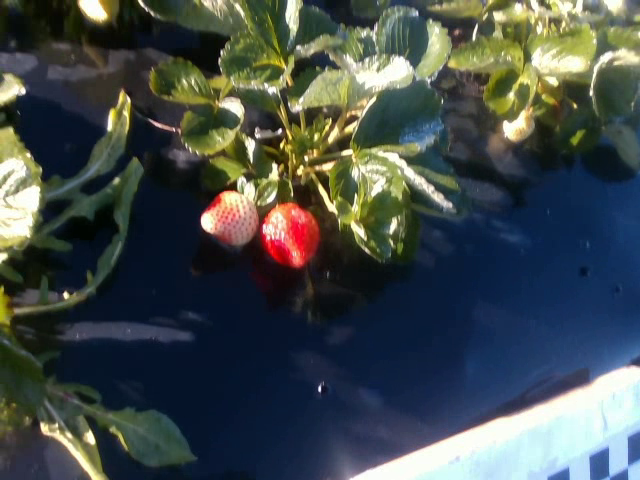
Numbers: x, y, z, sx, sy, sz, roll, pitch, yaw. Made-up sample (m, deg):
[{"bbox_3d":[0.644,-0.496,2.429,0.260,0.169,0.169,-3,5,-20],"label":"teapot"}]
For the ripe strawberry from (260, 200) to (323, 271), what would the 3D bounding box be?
[{"bbox_3d":[-0.014,-0.001,0.349,0.040,0.038,0.056,-21,21,0],"label":"ripe strawberry"}]
